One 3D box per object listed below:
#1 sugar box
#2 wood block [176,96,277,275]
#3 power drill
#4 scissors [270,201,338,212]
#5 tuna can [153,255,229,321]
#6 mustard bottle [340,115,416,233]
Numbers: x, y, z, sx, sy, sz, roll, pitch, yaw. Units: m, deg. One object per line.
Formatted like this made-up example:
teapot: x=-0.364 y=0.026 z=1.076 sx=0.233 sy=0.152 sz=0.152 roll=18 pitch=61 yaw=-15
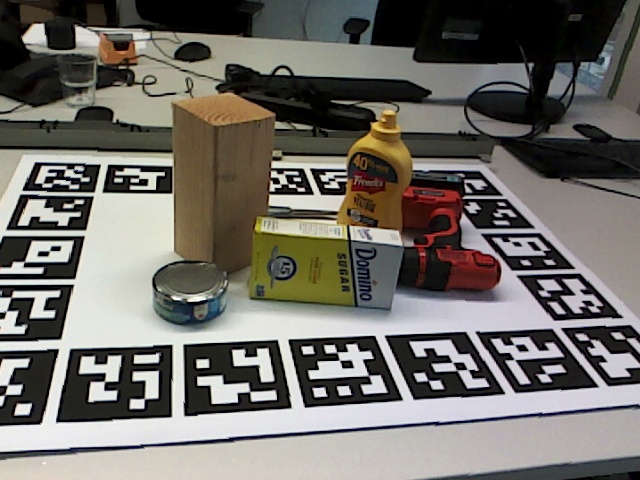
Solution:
sugar box: x=0.012 y=0.029 z=0.752 sx=0.176 sy=0.093 sz=0.045 roll=8 pitch=29 yaw=-3
wood block: x=-0.122 y=-0.065 z=0.783 sx=0.090 sy=0.206 sz=0.090 roll=-19 pitch=42 yaw=-35
power drill: x=0.133 y=-0.005 z=0.861 sx=0.184 sy=0.057 sz=0.187 roll=7 pitch=39 yaw=-1
scissors: x=-0.072 y=-0.049 z=0.926 sx=0.202 sy=0.016 sz=0.088 roll=1 pitch=29 yaw=-10
tuna can: x=-0.151 y=0.055 z=0.724 sx=0.085 sy=0.033 sz=0.086 roll=6 pitch=33 yaw=-4
mustard bottle: x=0.084 y=-0.082 z=0.863 sx=0.097 sy=0.191 sz=0.058 roll=29 pitch=39 yaw=29
